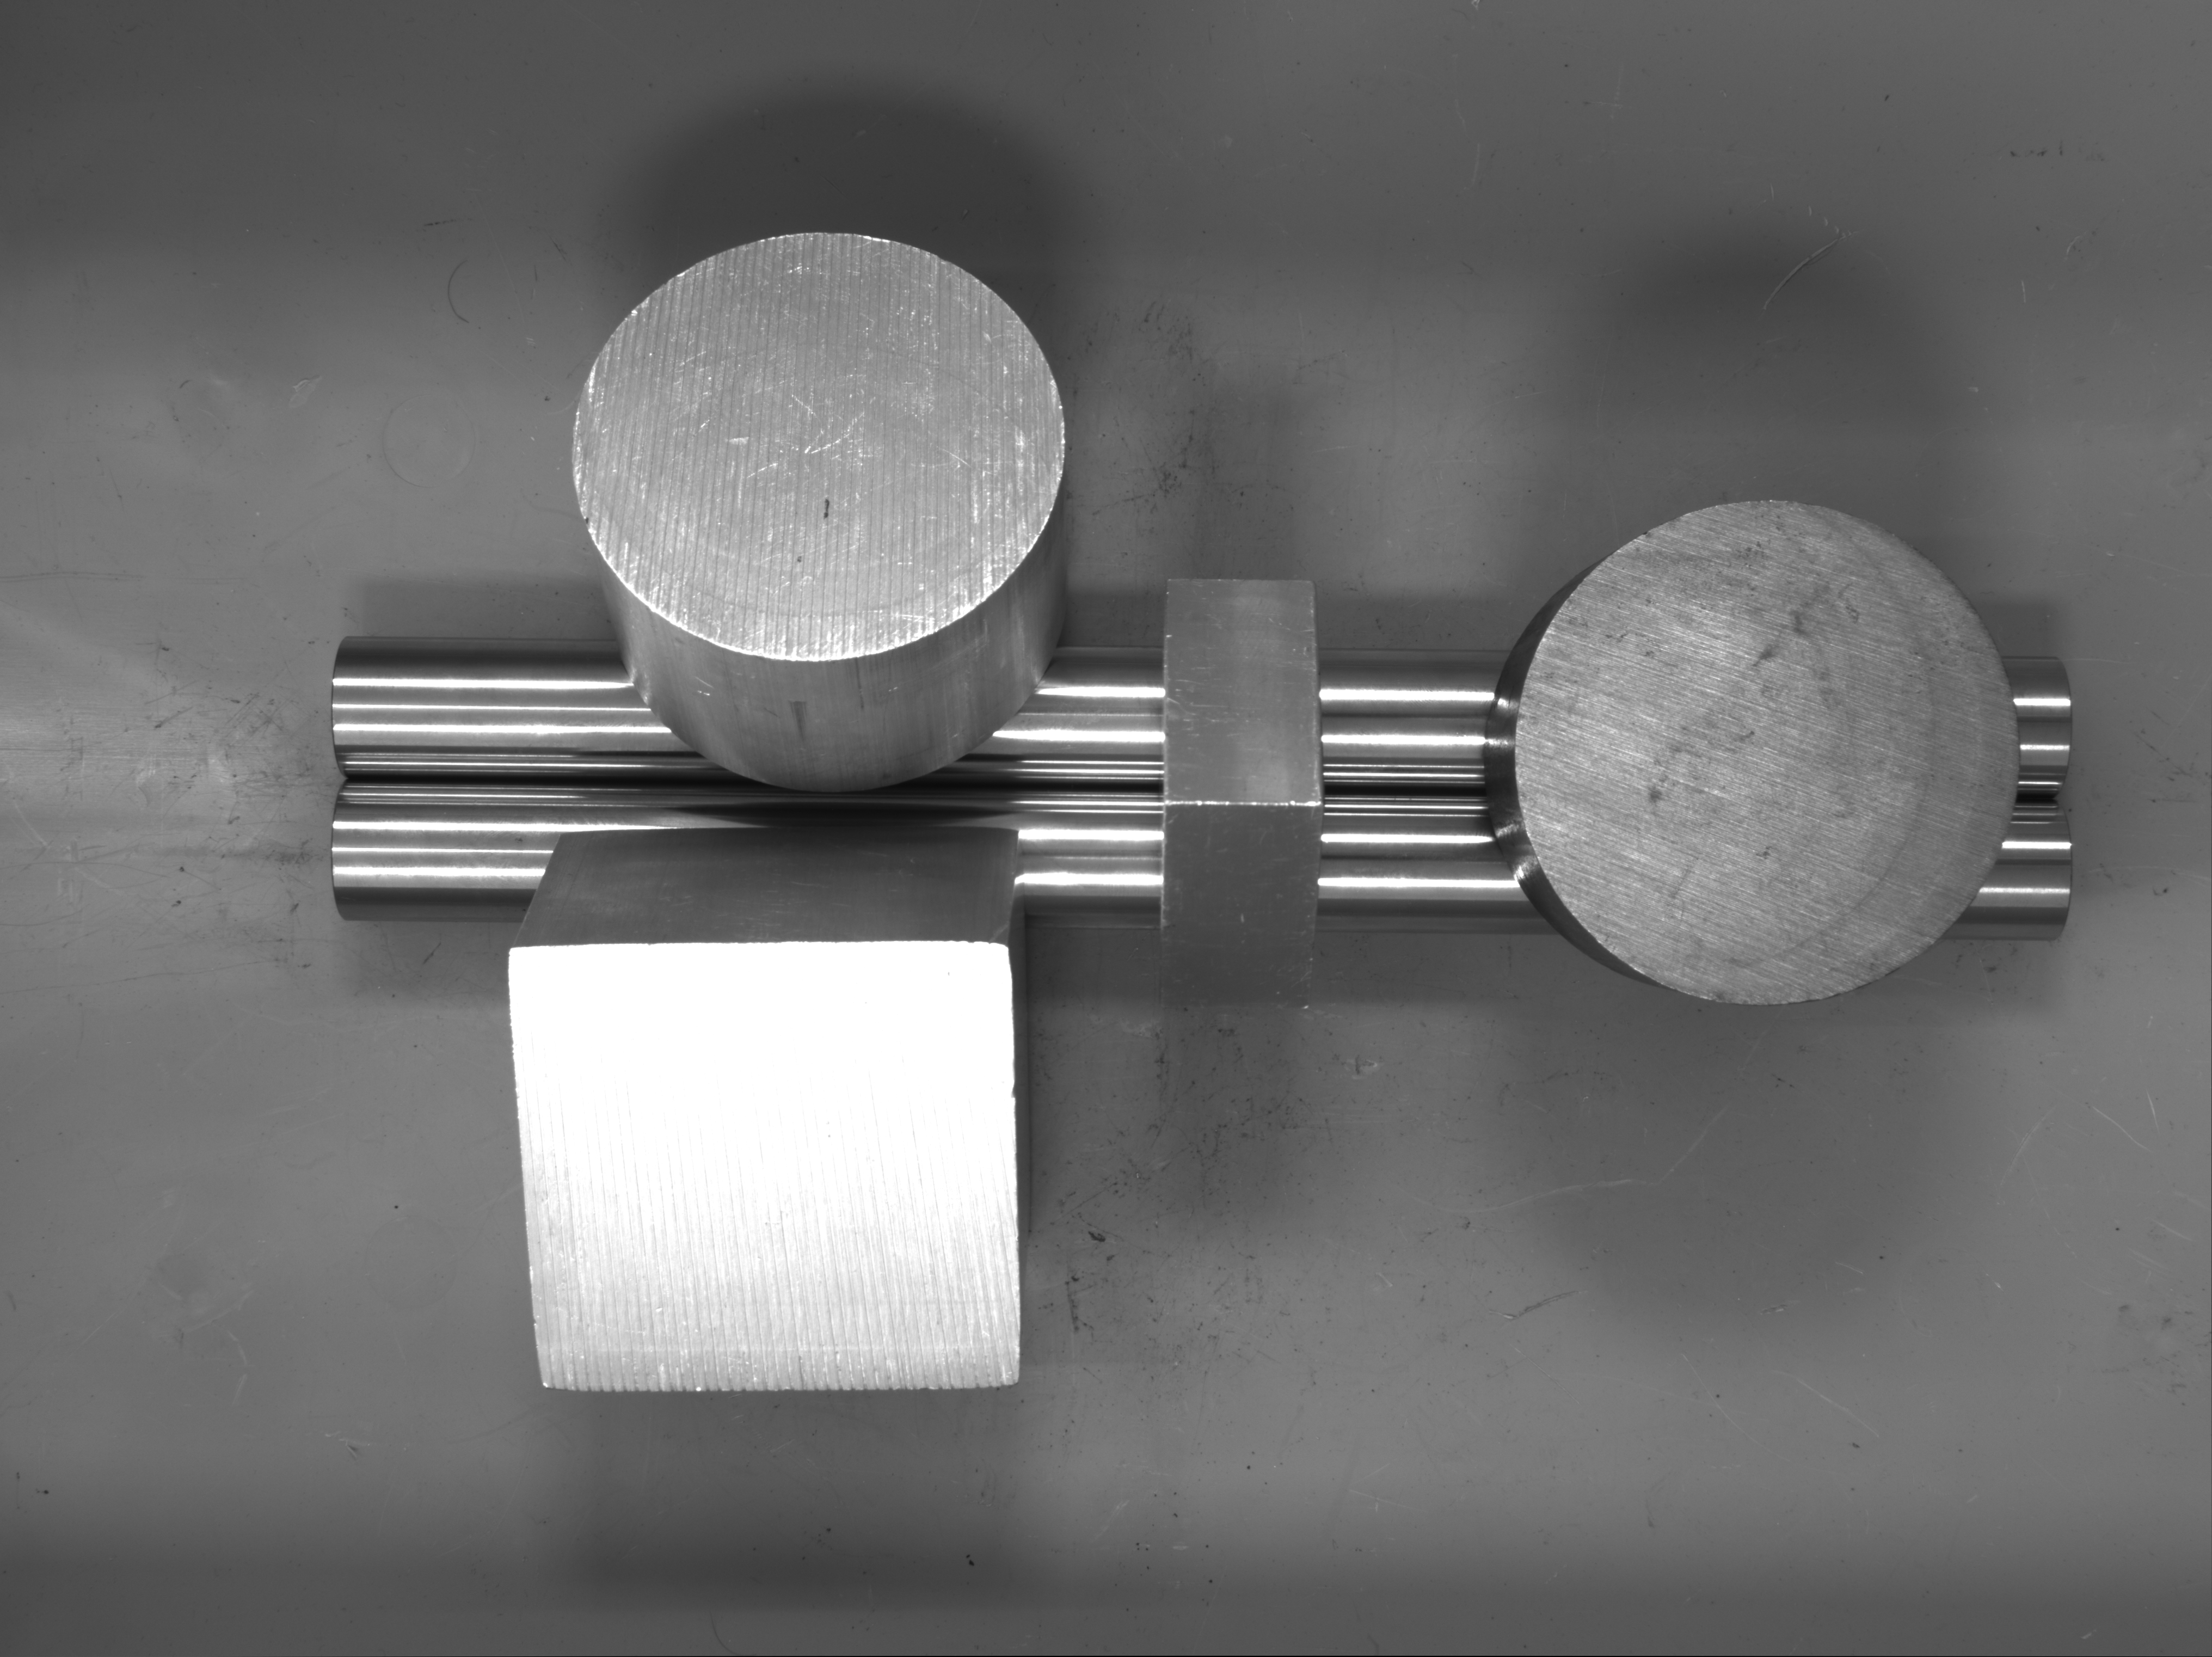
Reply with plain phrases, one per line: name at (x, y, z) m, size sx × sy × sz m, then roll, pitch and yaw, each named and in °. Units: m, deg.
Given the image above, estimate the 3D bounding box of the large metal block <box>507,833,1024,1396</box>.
large metal block at (-0.054, 0.047, 0.619) m, size 0.080 × 0.050 × 0.080 m, roll -1°, pitch 110°, yaw 0°

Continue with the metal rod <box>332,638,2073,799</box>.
metal rod at (0.017, -0.019, 0.645) m, size 0.300 × 0.025 × 0.025 m, roll 1°, pitch 90°, yaw 0°

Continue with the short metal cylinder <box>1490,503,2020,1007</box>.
short metal cylinder at (0.105, -0.012, 0.607) m, size 0.080 × 0.050 × 0.080 m, roll 0°, pitch 90°, yaw 0°

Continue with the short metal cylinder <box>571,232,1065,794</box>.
short metal cylinder at (-0.047, -0.053, 0.618) m, size 0.080 × 0.050 × 0.080 m, roll 0°, pitch 66°, yaw 0°

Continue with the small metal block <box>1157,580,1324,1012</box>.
small metal block at (0.021, -0.005, 0.604) m, size 0.025 × 0.050 × 0.050 m, roll 1°, pitch 48°, yaw 0°

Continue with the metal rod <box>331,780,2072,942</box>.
metal rod at (0.017, 0.006, 0.645) m, size 0.300 × 0.025 × 0.025 m, roll 1°, pitch 90°, yaw 0°
